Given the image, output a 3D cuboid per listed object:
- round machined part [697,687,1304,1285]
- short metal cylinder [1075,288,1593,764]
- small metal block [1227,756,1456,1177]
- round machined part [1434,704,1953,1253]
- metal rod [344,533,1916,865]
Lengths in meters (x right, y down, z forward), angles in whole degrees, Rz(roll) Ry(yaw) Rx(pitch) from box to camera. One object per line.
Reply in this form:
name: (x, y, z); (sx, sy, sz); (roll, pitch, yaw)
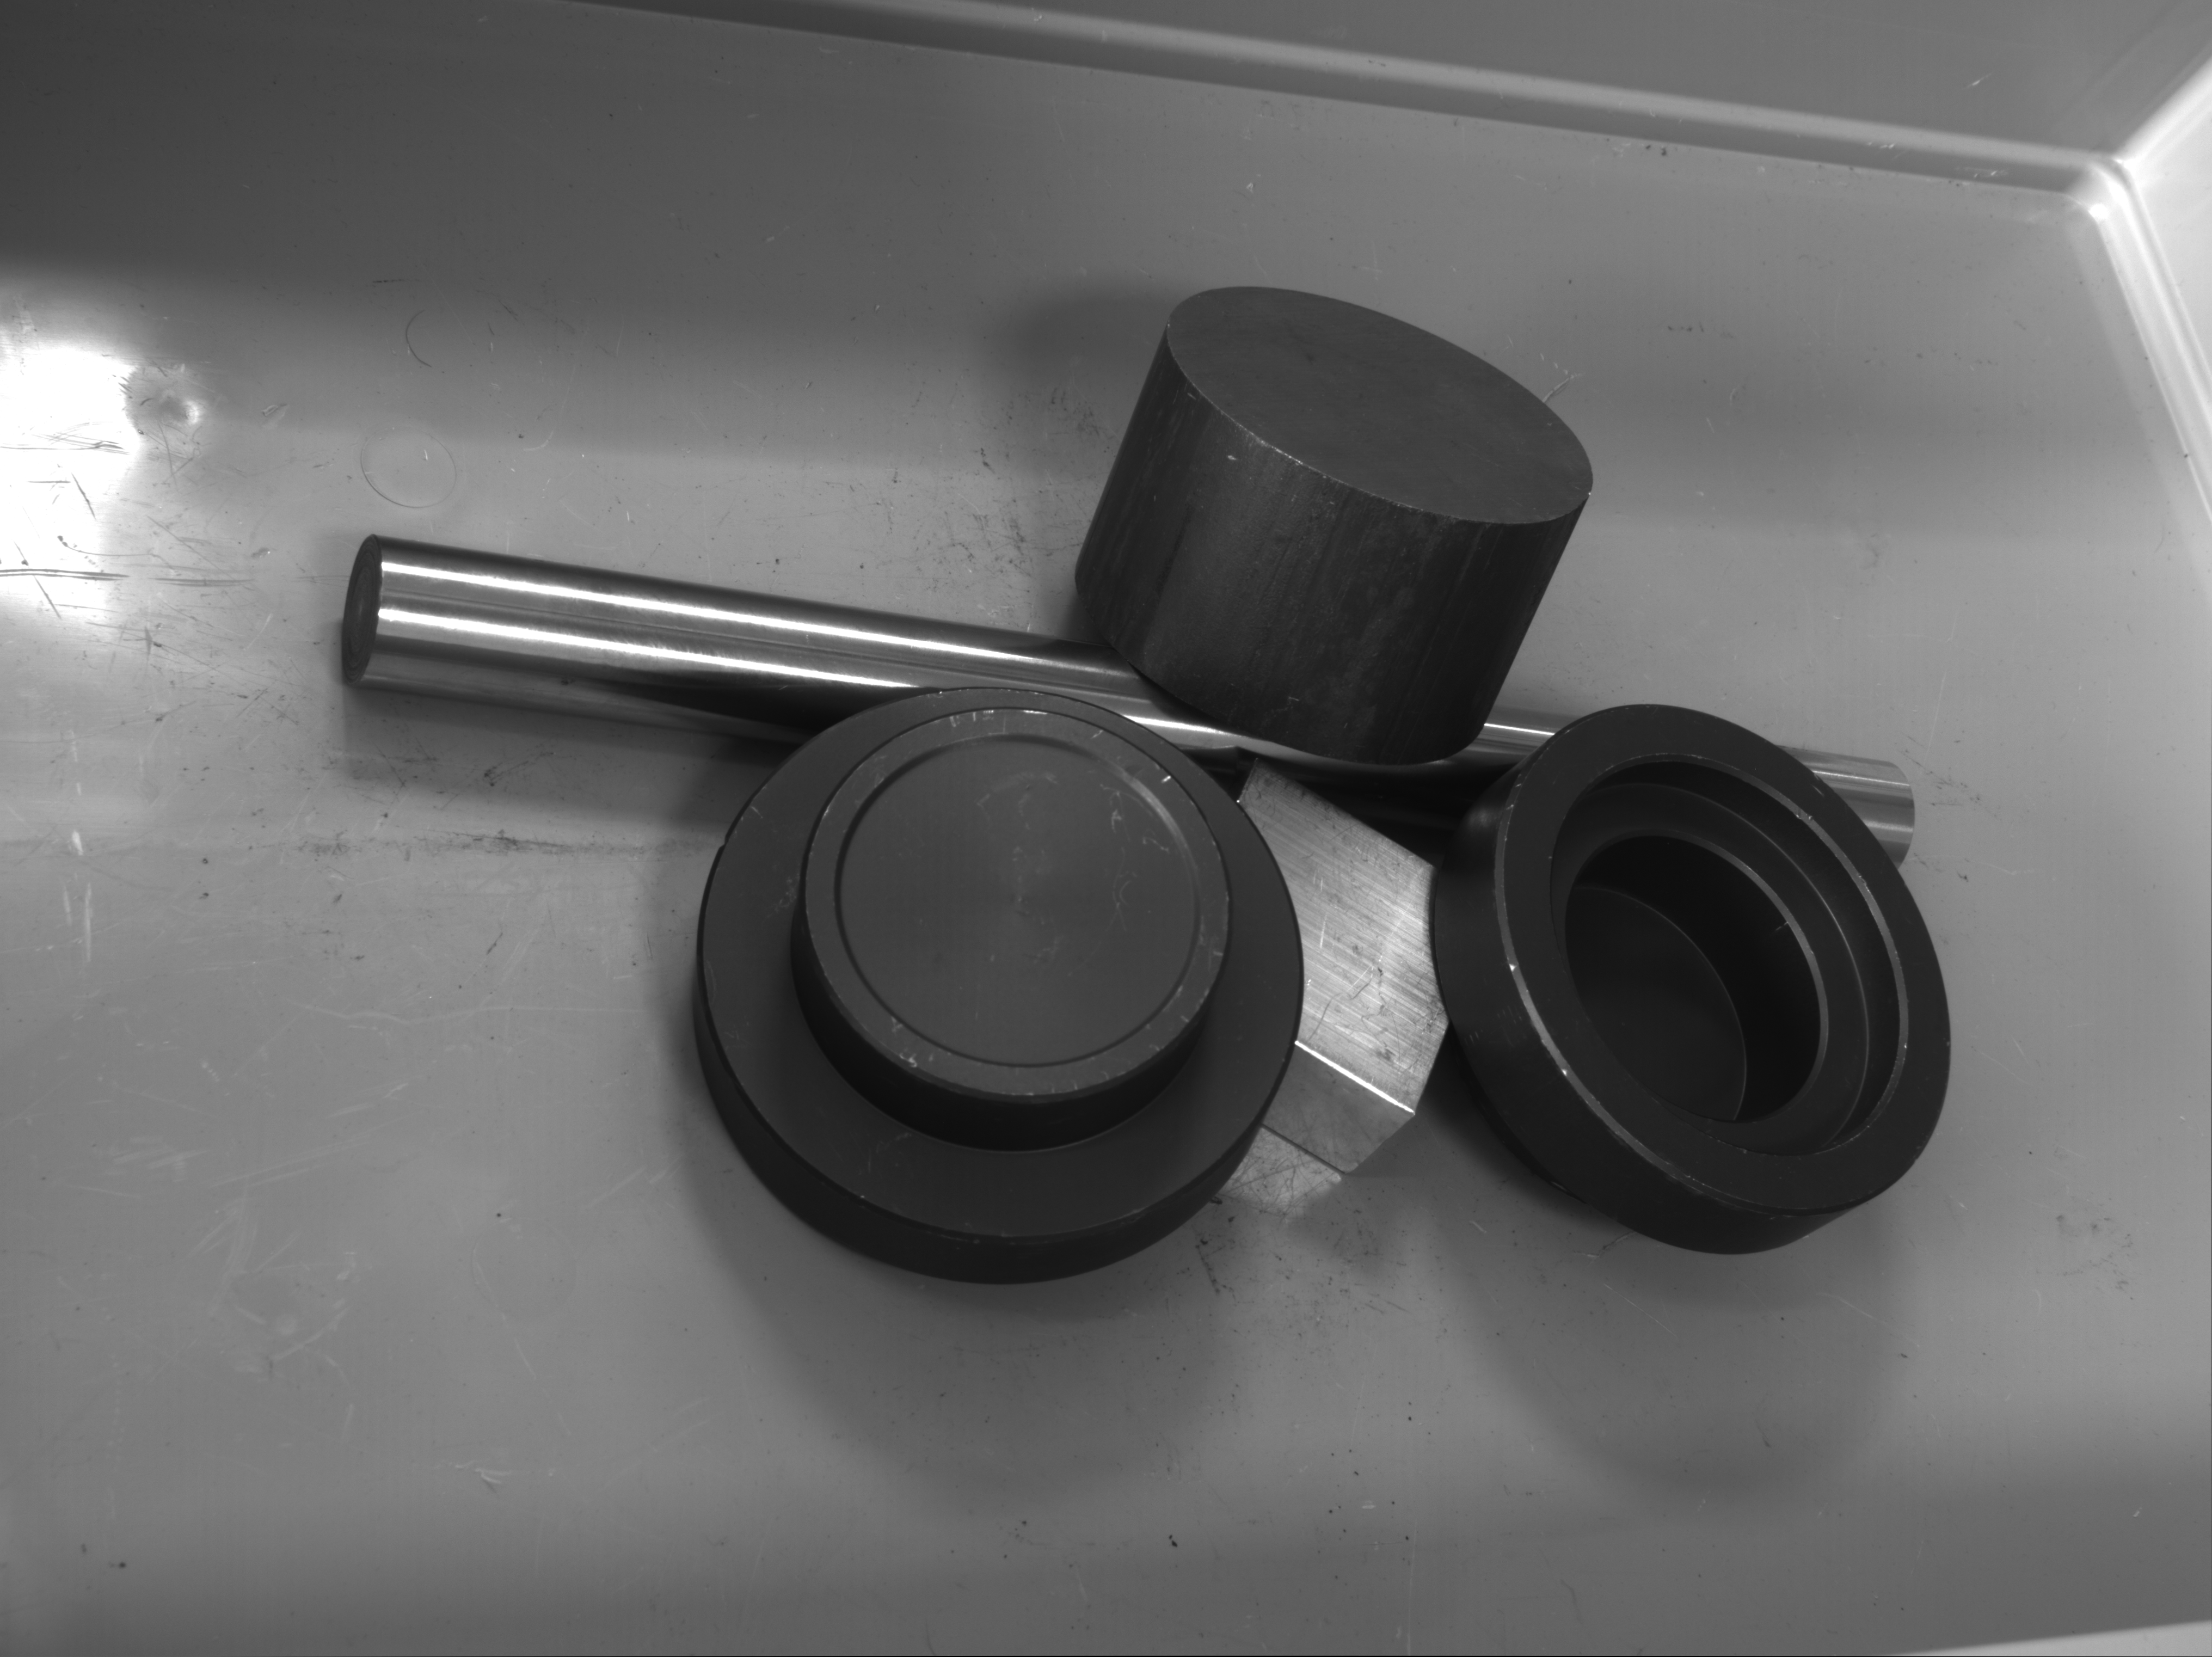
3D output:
round machined part: (-0.016, 0.020, 0.589); (0.098, 0.042, 0.098); (3, 63, -6)
short metal cylinder: (0.040, -0.055, 0.658); (0.080, 0.050, 0.080); (17, 30, -10)
small metal block: (0.035, 0.024, 0.642); (0.050, 0.025, 0.050); (32, 52, -7)
round machined part: (0.100, 0.030, 0.659); (0.098, 0.042, 0.098); (15, 57, -24)
metal rod: (0.015, -0.018, 0.657); (0.301, 0.025, 0.025); (7, 58, -24)
